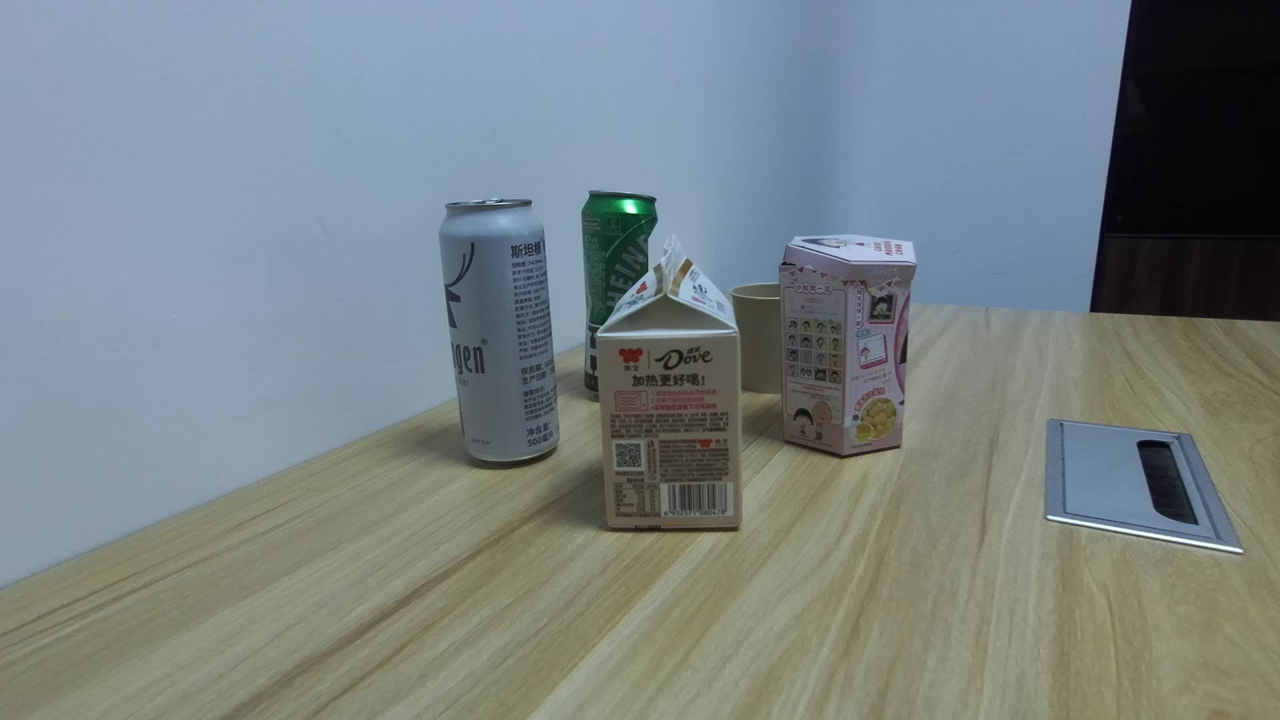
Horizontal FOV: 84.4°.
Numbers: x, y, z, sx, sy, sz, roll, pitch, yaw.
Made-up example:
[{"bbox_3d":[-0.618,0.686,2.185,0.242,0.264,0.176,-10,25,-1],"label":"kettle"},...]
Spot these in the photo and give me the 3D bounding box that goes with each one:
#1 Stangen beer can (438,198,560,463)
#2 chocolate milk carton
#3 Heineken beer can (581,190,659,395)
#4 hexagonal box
[{"bbox_3d":[-0.091,-0.018,0.470,0.067,0.171,0.067,-3,14,1],"label":"Stangen beer can"},{"bbox_3d":[0.018,0.009,0.387,0.074,0.148,0.075,-1,16,5],"label":"chocolate milk carton"},{"bbox_3d":[-0.013,-0.050,0.579,0.069,0.168,0.068,6,12,28],"label":"Heineken beer can"},{"bbox_3d":[0.137,-0.013,0.476,0.085,0.135,0.092,3,17,15],"label":"hexagonal box"}]
